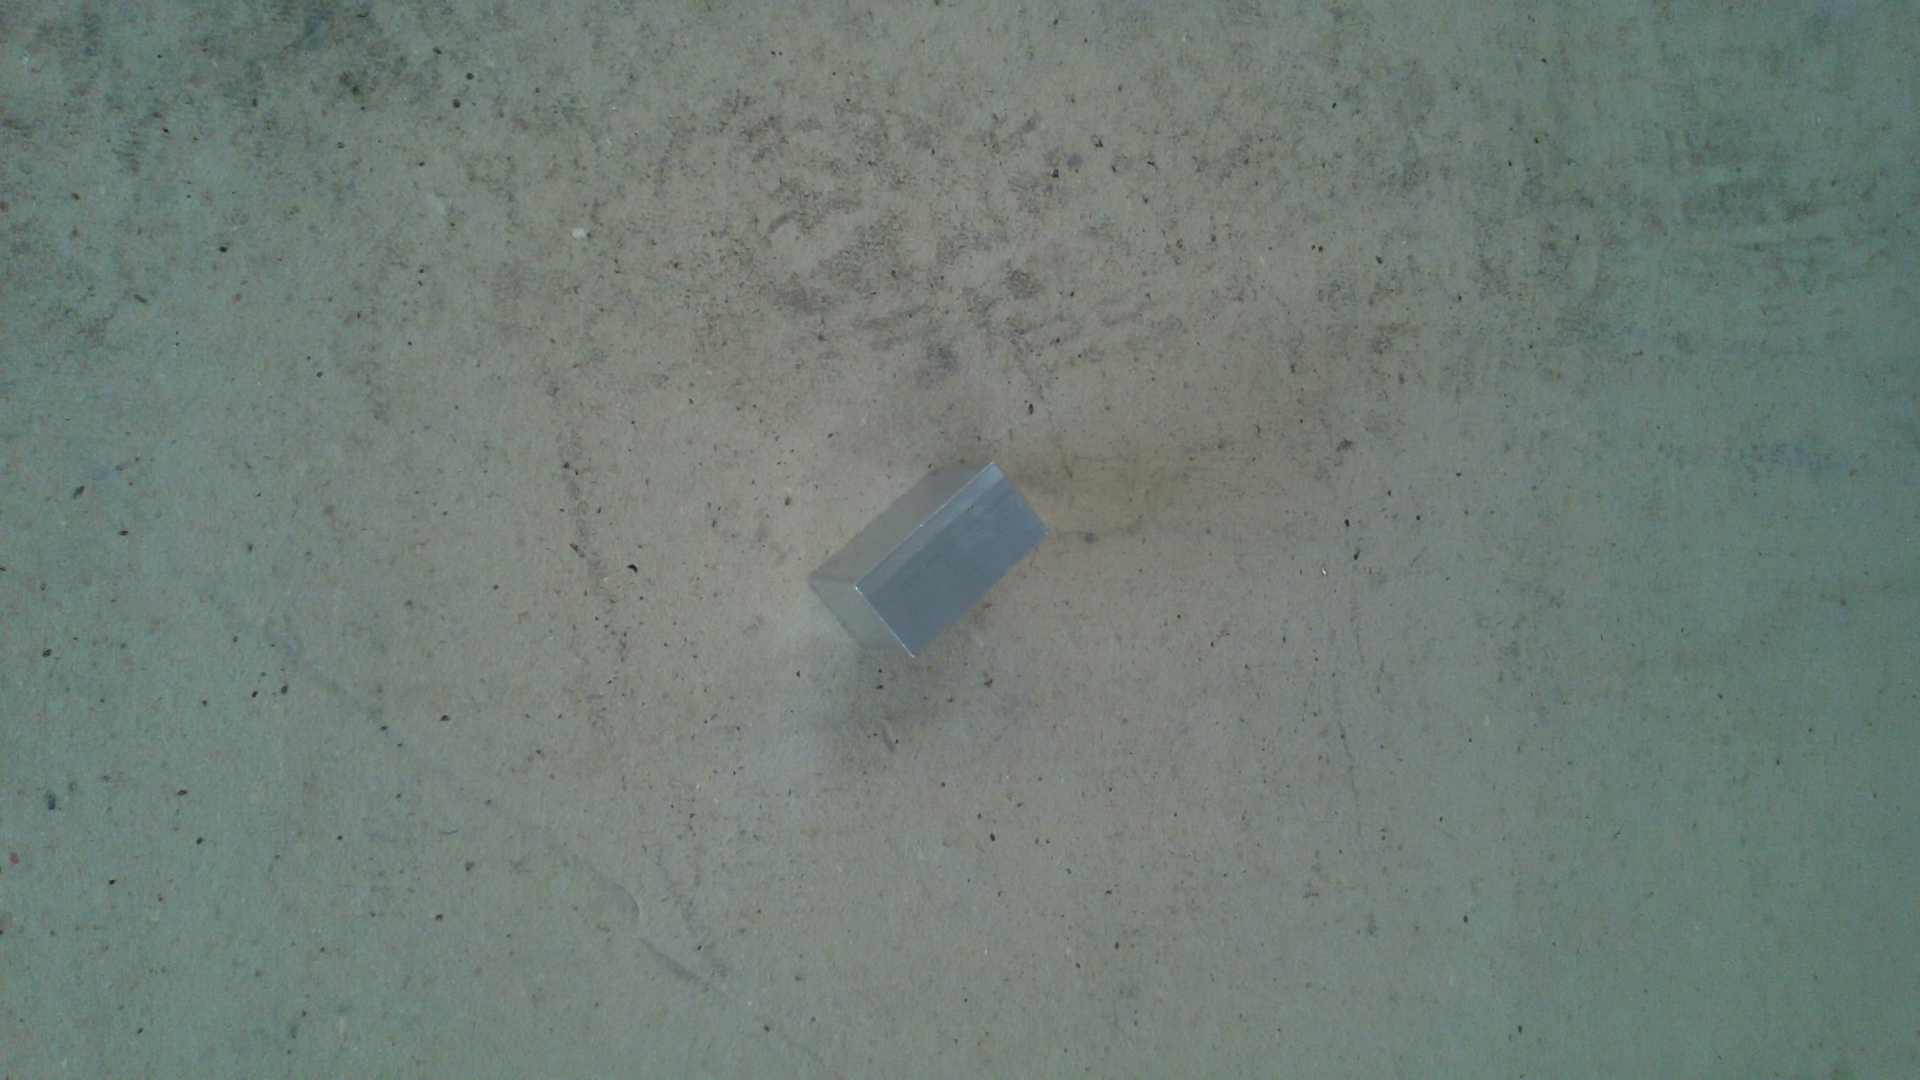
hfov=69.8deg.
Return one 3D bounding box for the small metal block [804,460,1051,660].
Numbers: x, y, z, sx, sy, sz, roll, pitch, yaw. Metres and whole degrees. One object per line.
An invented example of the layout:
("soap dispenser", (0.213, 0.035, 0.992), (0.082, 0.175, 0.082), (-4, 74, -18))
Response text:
("small metal block", (-0.010, 0.005, 0.377), (0.050, 0.050, 0.025), (-42, 103, -15))
